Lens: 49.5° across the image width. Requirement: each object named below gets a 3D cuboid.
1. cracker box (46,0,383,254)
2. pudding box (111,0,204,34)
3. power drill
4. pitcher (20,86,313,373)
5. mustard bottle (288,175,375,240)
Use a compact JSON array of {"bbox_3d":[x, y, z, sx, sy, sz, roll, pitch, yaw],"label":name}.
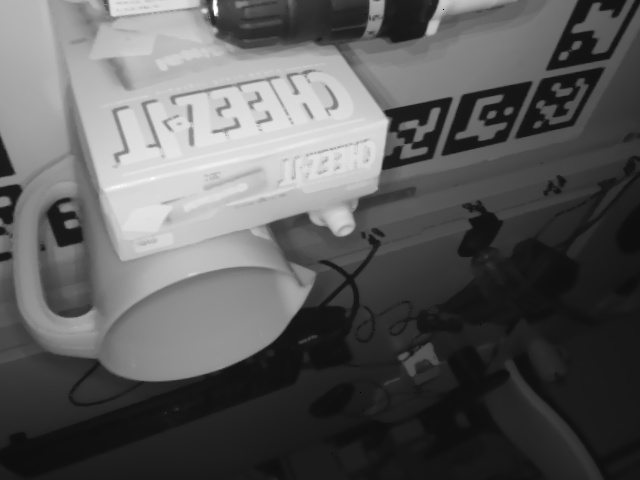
[{"bbox_3d":[-0.078,-0.111,0.465,0.166,0.213,0.071,-17,145,-18],"label":"cracker box"},{"bbox_3d":[-0.087,-0.183,0.463,0.115,0.090,0.038,-15,144,-21],"label":"pudding box"},{"bbox_3d":[0.001,-0.188,0.397,0.186,0.187,0.057,-14,145,-17],"label":"power drill"},{"bbox_3d":[-0.128,-0.030,0.522,0.191,0.242,0.131,-11,141,-25],"label":"pitcher"},{"bbox_3d":[-0.009,-0.069,0.572,0.097,0.191,0.057,-5,137,-29],"label":"mustard bottle"}]
